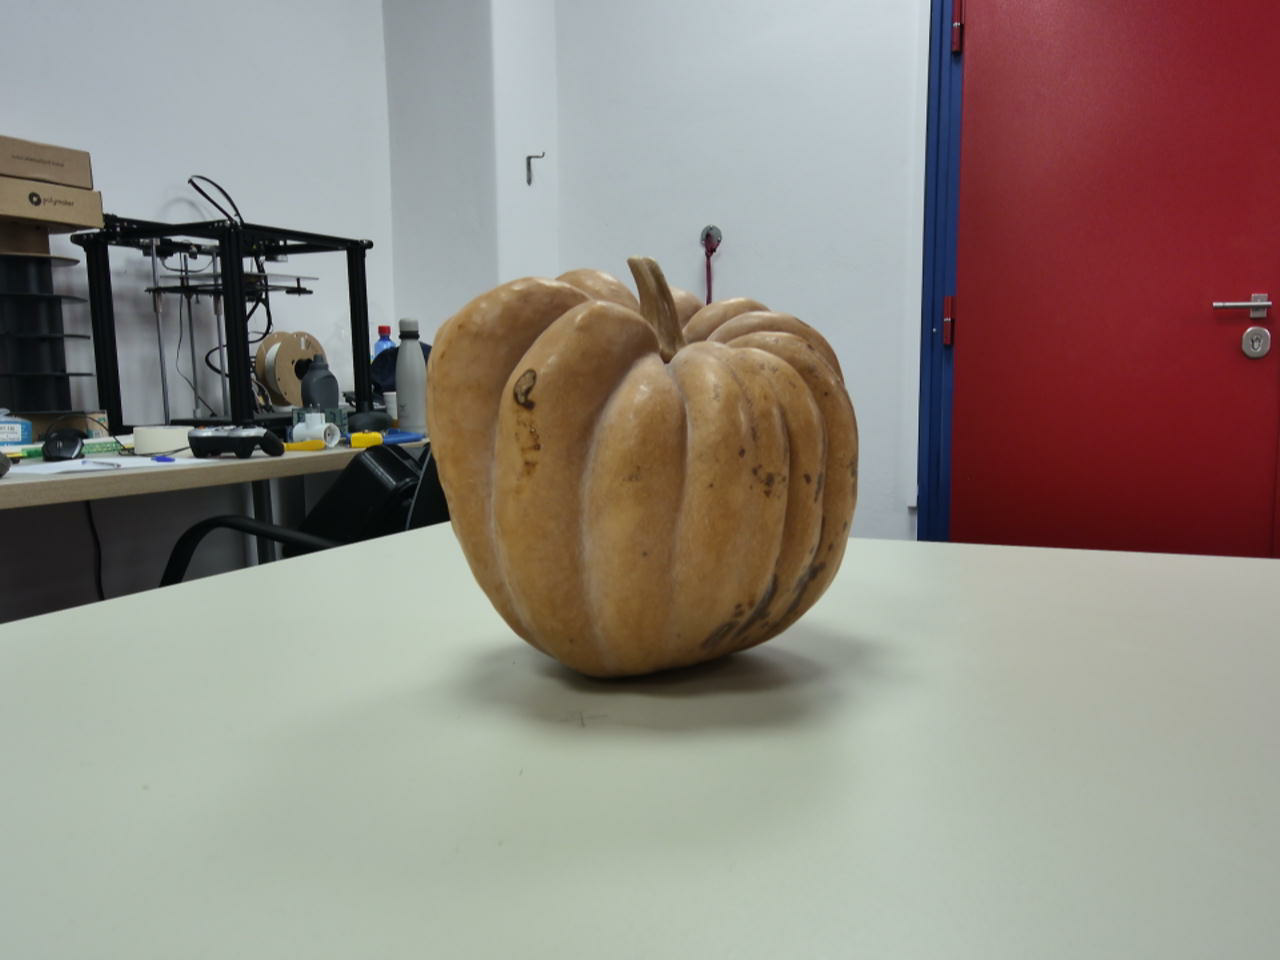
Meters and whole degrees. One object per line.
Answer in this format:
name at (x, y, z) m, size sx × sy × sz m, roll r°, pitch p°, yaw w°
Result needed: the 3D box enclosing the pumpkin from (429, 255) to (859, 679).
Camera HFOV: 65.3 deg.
pumpkin at (0.000, -0.008, 0.443) m, size 0.199 × 0.177 × 0.198 m, roll 0°, pitch 4°, yaw 0°
